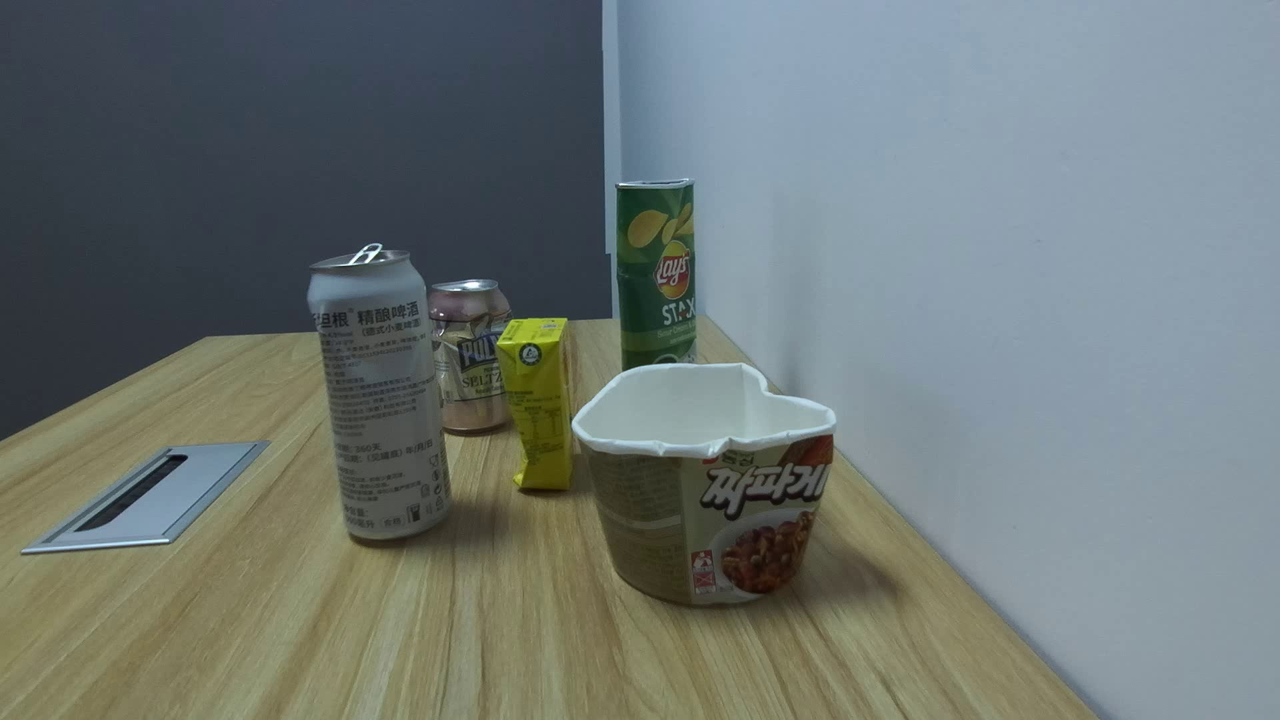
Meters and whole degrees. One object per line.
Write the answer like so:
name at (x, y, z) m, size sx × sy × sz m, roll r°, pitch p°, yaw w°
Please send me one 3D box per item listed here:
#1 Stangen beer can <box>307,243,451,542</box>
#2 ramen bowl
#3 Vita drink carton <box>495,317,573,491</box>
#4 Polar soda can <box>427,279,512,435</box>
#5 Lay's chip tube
Stangen beer can at (-0.156, 0.021, 0.423) m, size 0.069 × 0.173 × 0.070 m, roll 13°, pitch 21°, yaw 43°
ramen bowl at (0.028, 0.064, 0.387) m, size 0.134 × 0.097 × 0.113 m, roll -6°, pitch 19°, yaw -22°
Vita drink carton at (-0.069, 0.031, 0.493) m, size 0.043 × 0.109 × 0.076 m, roll -3°, pitch 17°, yaw 1°
Polar soda can at (-0.145, -0.003, 0.603) m, size 0.074 × 0.122 × 0.067 m, roll -1°, pitch 14°, yaw 1°
Lay's chip tube at (0.016, -0.047, 0.592) m, size 0.069 × 0.199 × 0.075 m, roll -2°, pitch 18°, yaw -2°
